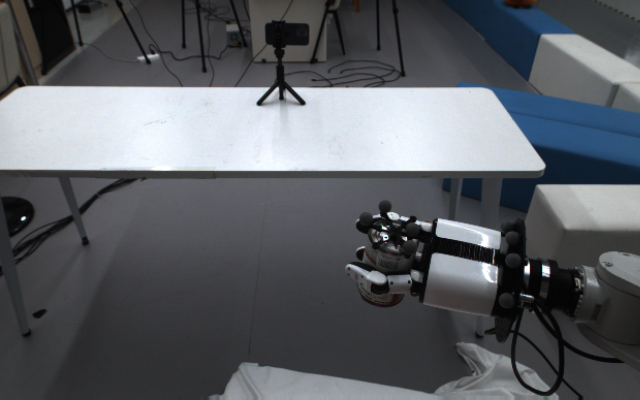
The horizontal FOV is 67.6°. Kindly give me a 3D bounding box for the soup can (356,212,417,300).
[{"bbox_3d":[0.092,0.085,0.651,0.067,0.101,0.067,5,37,-3],"label":"soup can"}]
